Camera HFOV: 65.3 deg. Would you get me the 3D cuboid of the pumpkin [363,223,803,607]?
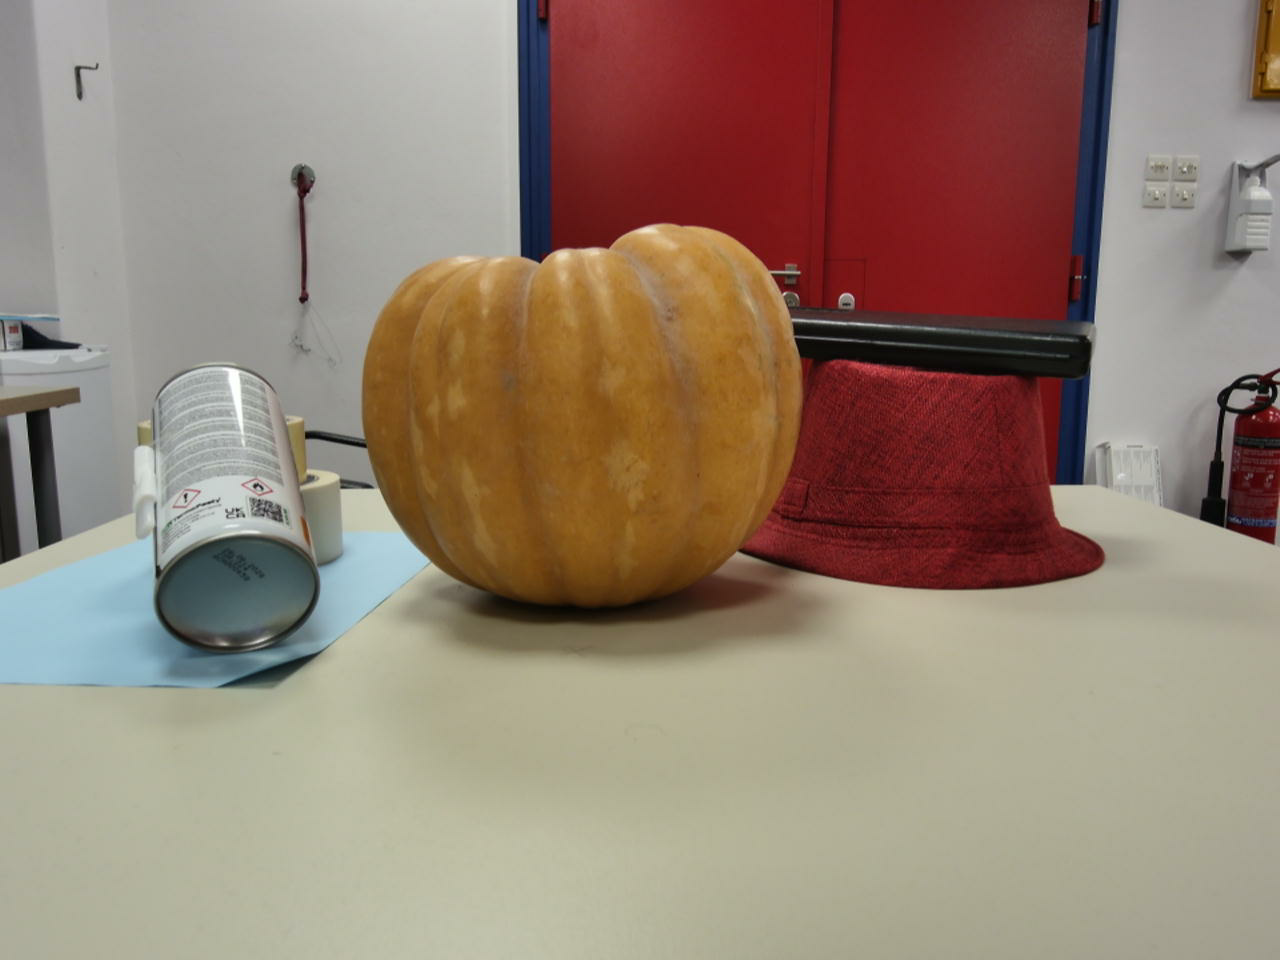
[{"bbox_3d":[-0.026,-0.033,0.531,0.230,0.194,0.230,0,6,0],"label":"pumpkin"}]
